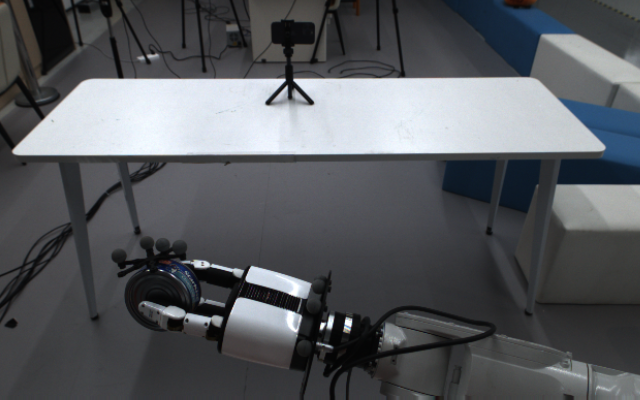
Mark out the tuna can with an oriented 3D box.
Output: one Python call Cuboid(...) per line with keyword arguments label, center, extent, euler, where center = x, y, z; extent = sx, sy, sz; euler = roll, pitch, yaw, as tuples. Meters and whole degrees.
Cuboid(label="tuna can", center=(-0.189, 0.123, 0.589), extent=(0.085, 0.085, 0.034), euler=(6, 18, 5))
